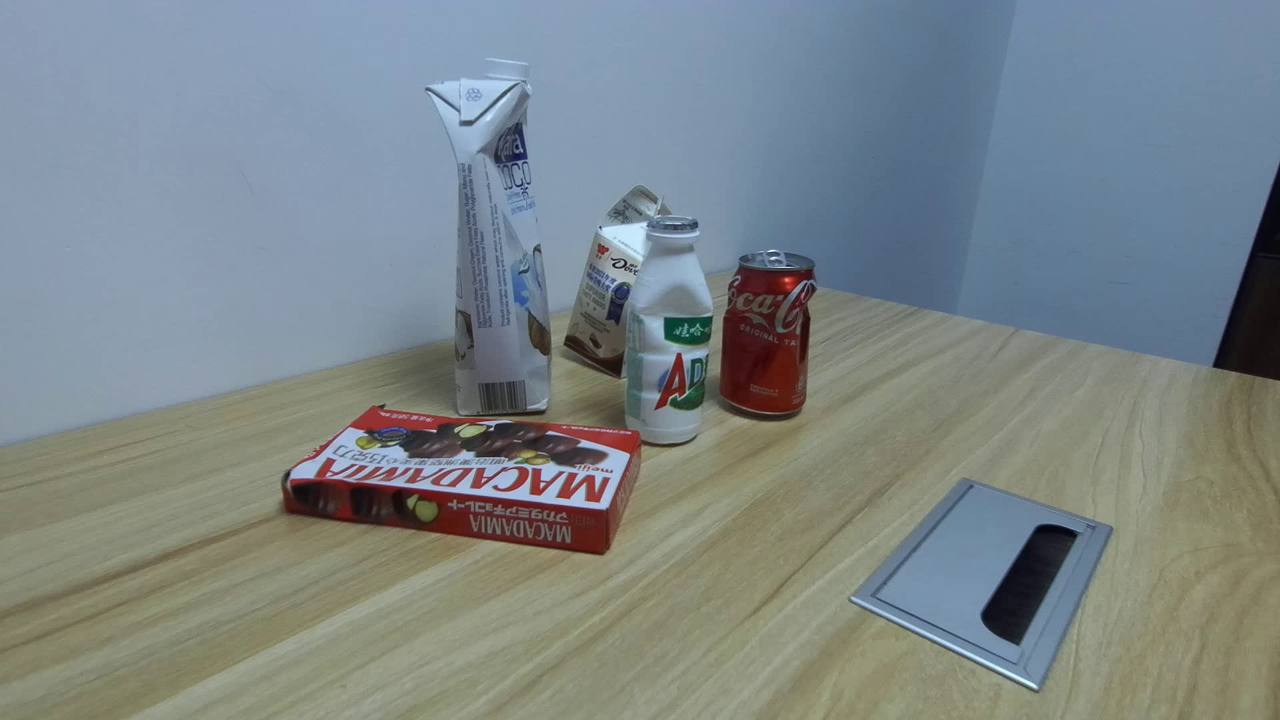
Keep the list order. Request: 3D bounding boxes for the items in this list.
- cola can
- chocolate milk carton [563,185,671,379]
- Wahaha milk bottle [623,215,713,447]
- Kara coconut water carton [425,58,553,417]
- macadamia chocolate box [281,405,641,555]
[{"bbox_3d":[0.096,-0.020,0.521,0.066,0.117,0.066,16,25,35],"label":"cola can"},{"bbox_3d":[-0.006,-0.068,0.605,0.076,0.155,0.090,20,12,32],"label":"chocolate milk carton"},{"bbox_3d":[0.018,-0.018,0.460,0.056,0.147,0.056,4,20,-1],"label":"Wahaha milk bottle"},{"bbox_3d":[-0.101,-0.083,0.496,0.069,0.238,0.115,-1,18,-4],"label":"Kara coconut water carton"},{"bbox_3d":[-0.096,0.062,0.406,0.183,0.028,0.106,5,19,8],"label":"macadamia chocolate box"}]
